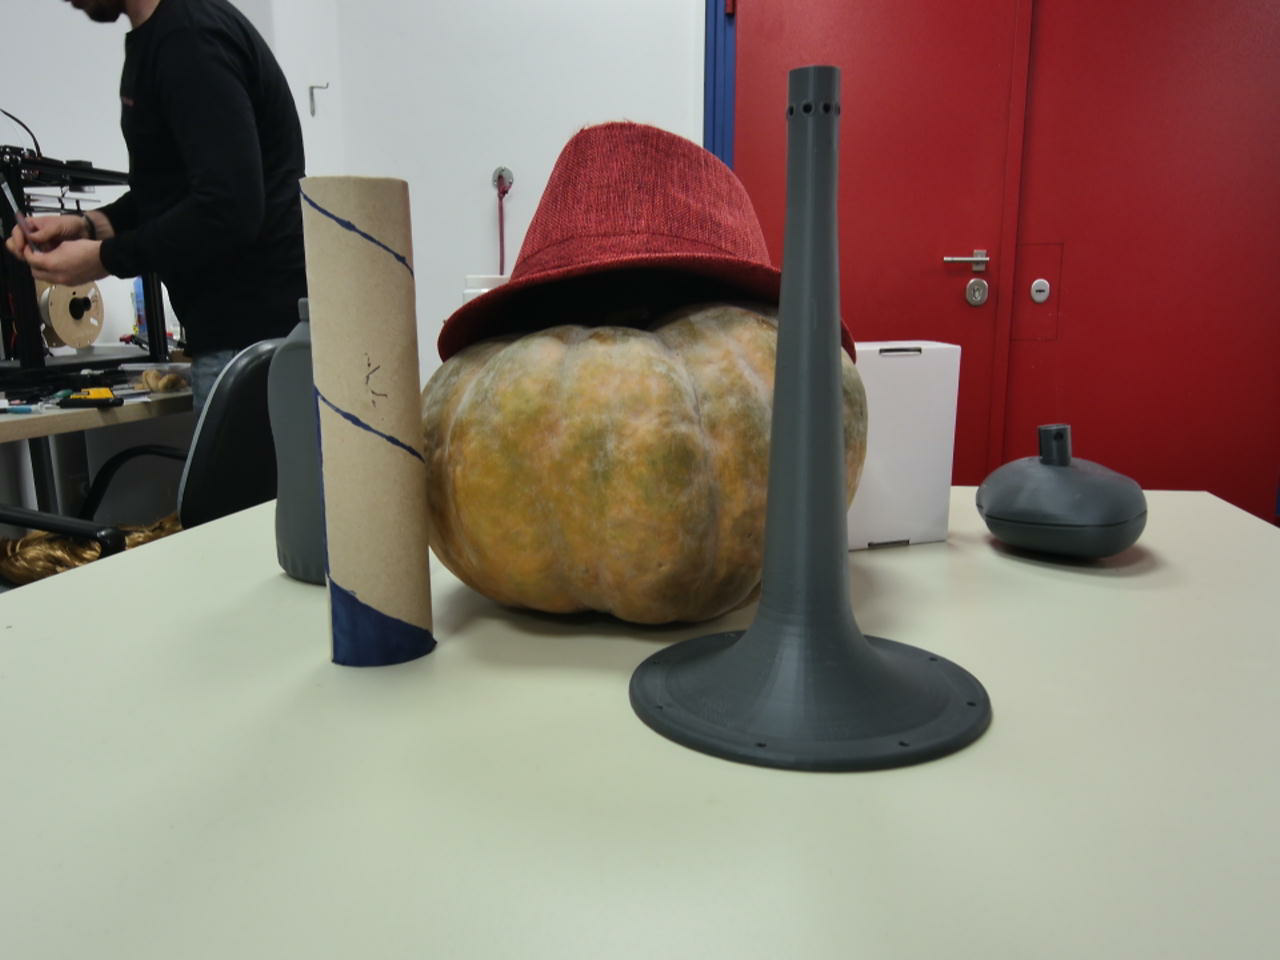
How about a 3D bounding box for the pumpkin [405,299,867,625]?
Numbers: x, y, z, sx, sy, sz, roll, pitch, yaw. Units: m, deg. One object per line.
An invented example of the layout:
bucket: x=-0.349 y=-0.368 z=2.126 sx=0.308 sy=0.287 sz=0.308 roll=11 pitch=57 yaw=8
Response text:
pumpkin: x=-0.007 y=-0.014 z=0.558 sx=0.252 sy=0.168 sz=0.252 roll=0 pitch=7 yaw=0
